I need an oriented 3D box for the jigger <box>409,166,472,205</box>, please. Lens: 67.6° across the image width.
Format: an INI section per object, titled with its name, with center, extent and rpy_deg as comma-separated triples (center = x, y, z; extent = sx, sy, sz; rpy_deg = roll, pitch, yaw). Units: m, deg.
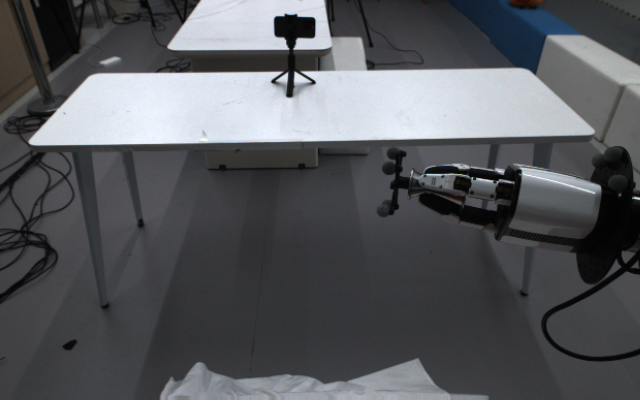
[jigger]
center = 0.152, -0.019, 0.600
extent = 0.071, 0.043, 0.043
rpy_deg = 8, 35, 14
